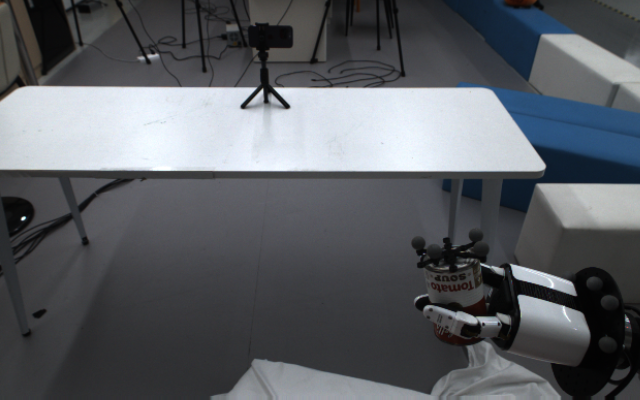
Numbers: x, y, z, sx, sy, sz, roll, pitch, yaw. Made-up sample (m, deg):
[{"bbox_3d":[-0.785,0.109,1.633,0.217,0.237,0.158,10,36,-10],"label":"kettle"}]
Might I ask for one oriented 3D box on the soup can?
[{"bbox_3d":[0.169,0.114,0.592,0.067,0.101,0.067,-12,17,4],"label":"soup can"}]
